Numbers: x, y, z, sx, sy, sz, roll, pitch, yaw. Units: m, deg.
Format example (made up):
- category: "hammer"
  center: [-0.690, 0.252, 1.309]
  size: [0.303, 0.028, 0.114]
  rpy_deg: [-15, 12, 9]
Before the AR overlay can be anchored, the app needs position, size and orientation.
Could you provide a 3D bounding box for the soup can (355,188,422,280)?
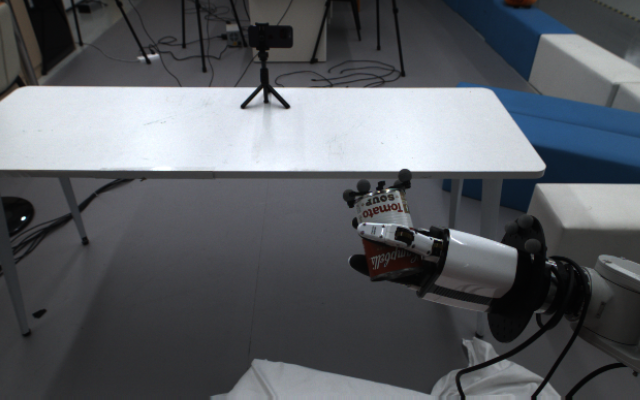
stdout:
- category: "soup can"
  center: [0.087, 0.044, 0.602]
  size: [0.067, 0.067, 0.101]
  rpy_deg: [-8, 74, -14]
